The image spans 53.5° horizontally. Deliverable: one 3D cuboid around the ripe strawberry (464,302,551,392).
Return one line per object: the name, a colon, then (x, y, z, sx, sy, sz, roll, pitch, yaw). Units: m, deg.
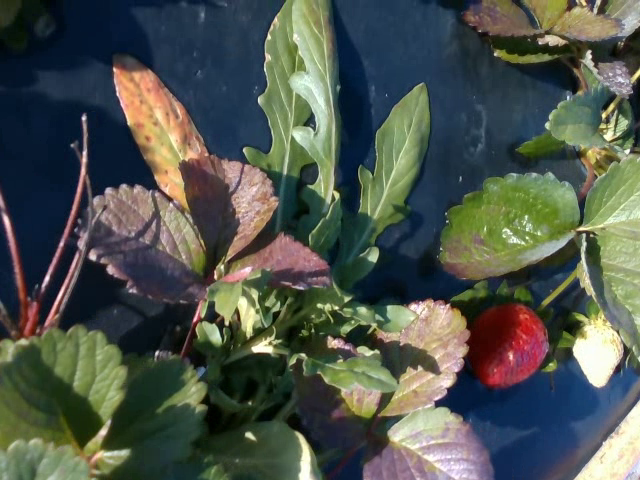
ripe strawberry: (0.070, 0.042, 0.244, 0.036, 0.043, 0.054, 36, 25, 23)
